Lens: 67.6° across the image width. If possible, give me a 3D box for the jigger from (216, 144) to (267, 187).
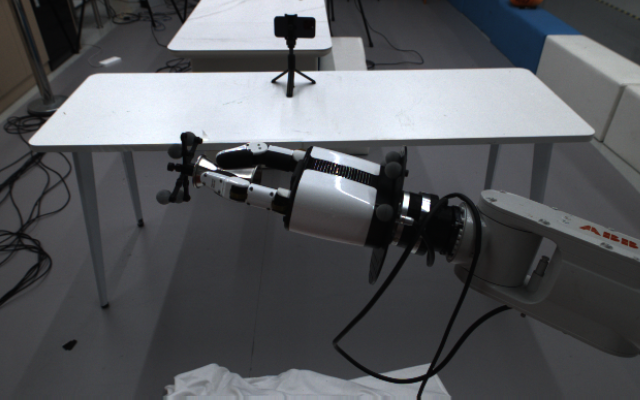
[{"bbox_3d":[-0.098,-0.028,0.551,0.071,0.043,0.043,12,36,5],"label":"jigger"}]
